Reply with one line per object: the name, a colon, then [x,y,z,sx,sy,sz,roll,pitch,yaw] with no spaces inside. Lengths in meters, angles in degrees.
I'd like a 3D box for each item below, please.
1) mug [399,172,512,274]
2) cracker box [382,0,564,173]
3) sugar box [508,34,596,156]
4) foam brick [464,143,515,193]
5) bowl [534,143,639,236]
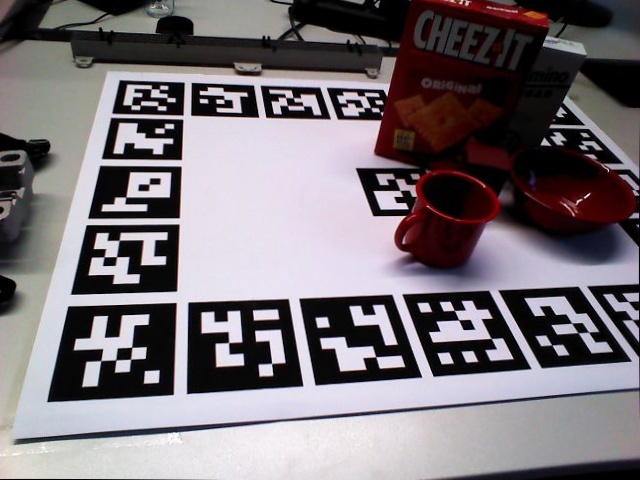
mug: [0.141,-0.015,0.565,0.117,0.082,0.093,-8,38,-15]
cracker box: [0.187,-0.194,0.672,0.165,0.214,0.071,20,42,11]
sugar box: [0.292,-0.192,0.712,0.093,0.177,0.045,14,43,5]
foam brick: [0.207,-0.073,0.652,0.053,0.078,0.051,10,42,1]
bowl: [0.333,-0.055,0.649,0.162,0.055,0.160,5,44,-5]
